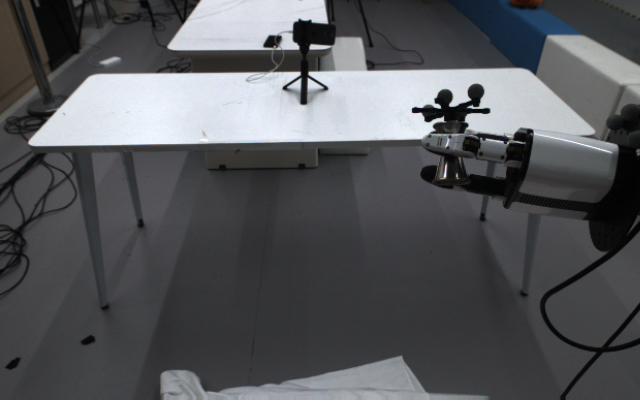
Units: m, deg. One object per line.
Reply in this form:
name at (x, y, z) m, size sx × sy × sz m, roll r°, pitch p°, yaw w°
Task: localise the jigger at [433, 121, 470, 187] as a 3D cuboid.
jigger at (0.150, -0.054, 0.563) m, size 0.043 × 0.071 × 0.043 m, roll 2°, pitch -6°, yaw 0°
